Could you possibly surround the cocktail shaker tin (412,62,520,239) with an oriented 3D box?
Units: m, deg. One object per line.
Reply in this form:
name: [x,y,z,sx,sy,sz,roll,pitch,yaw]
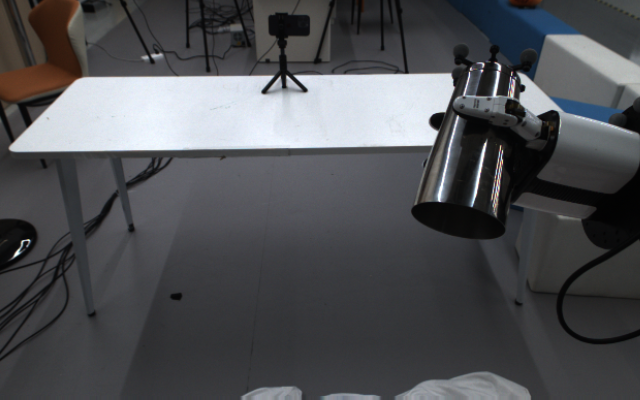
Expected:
cocktail shaker tin: [0.162,-0.055,0.503,0.093,0.093,0.170,12,71,15]
